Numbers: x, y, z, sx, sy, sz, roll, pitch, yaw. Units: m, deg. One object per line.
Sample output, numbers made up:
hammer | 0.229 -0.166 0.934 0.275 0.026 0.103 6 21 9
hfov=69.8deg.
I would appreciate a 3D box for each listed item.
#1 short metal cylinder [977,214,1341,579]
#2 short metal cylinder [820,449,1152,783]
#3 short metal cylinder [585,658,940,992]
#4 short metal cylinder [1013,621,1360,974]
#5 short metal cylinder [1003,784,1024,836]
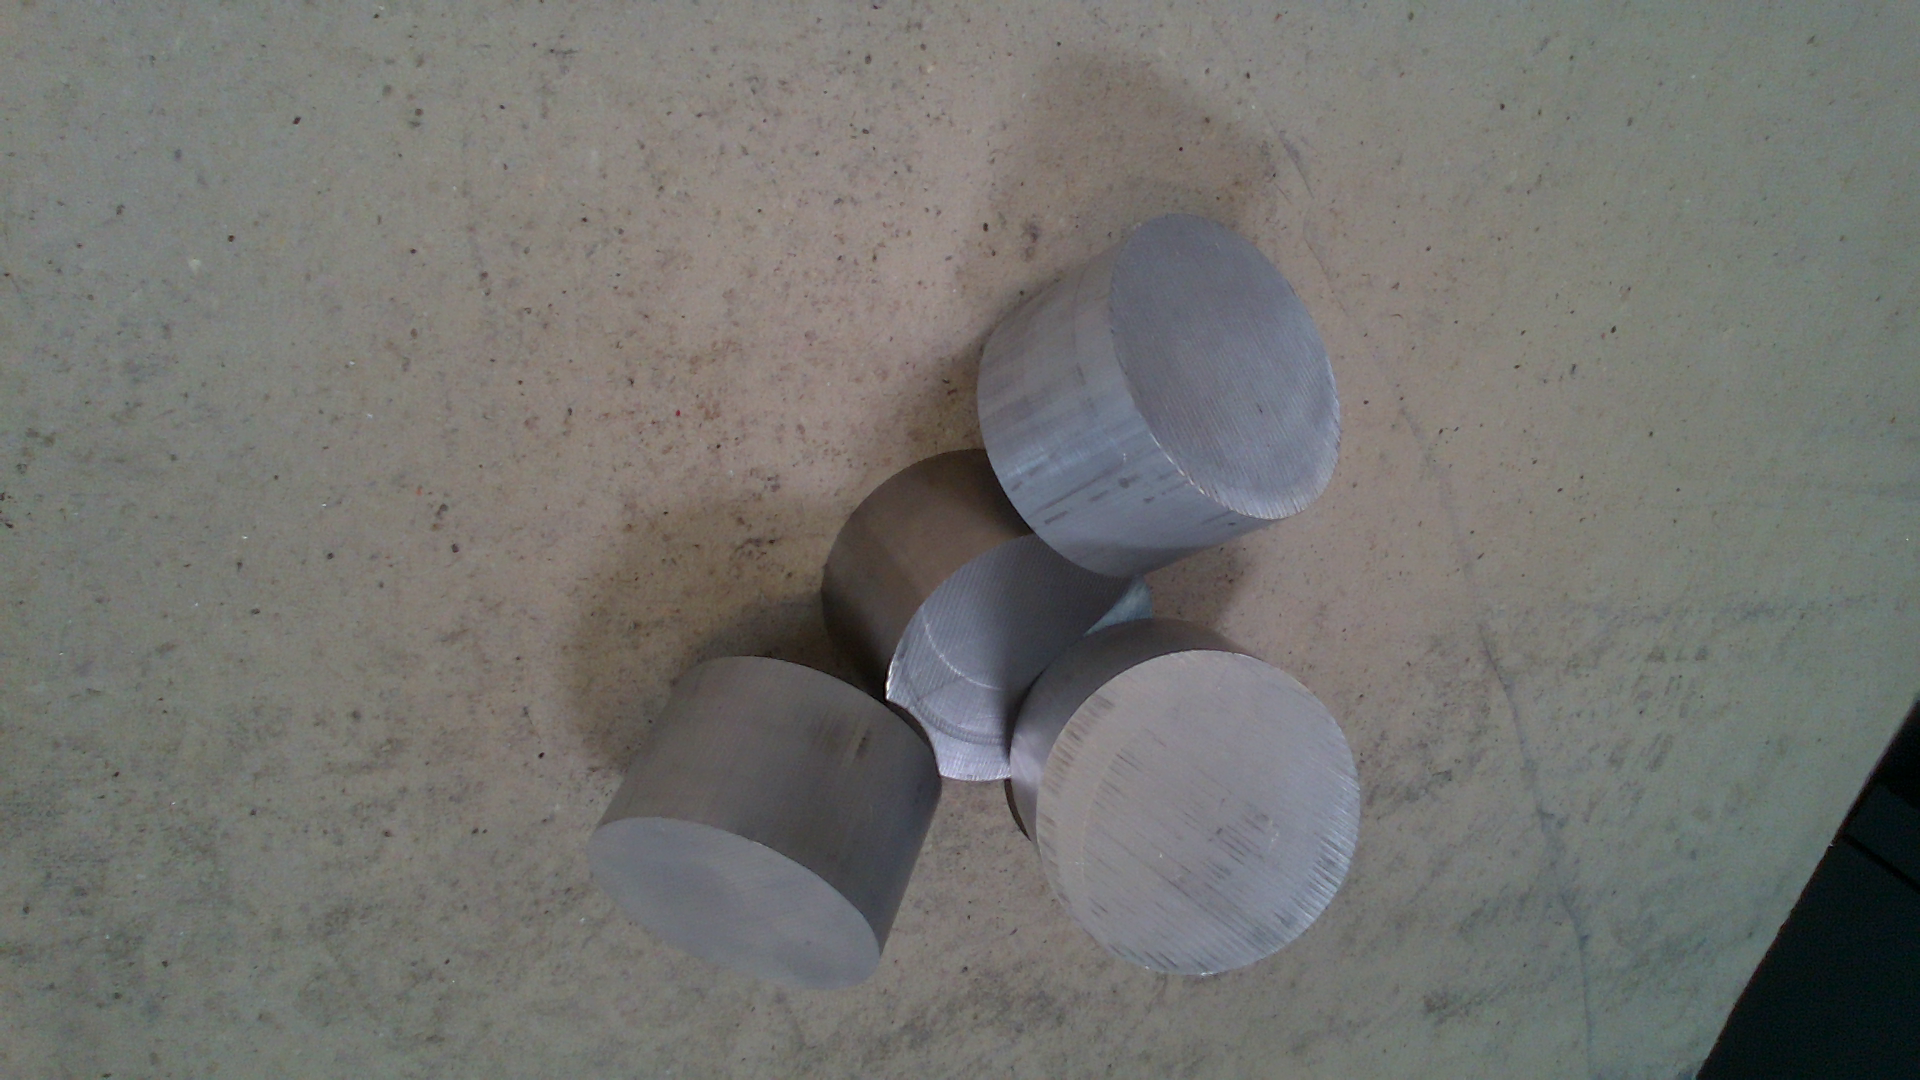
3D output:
short metal cylinder | 0.051 -0.035 0.352 0.080 0.080 0.050 14 154 -34
short metal cylinder | 0.007 0.021 0.389 0.080 0.050 0.080 -14 124 -21
short metal cylinder | -0.051 0.077 0.366 0.080 0.050 0.080 13 139 12
short metal cylinder | 0.055 0.064 0.356 0.080 0.050 0.080 -1 96 -6
short metal cylinder | 0.061 0.072 0.431 0.080 0.080 0.050 -47 129 4
